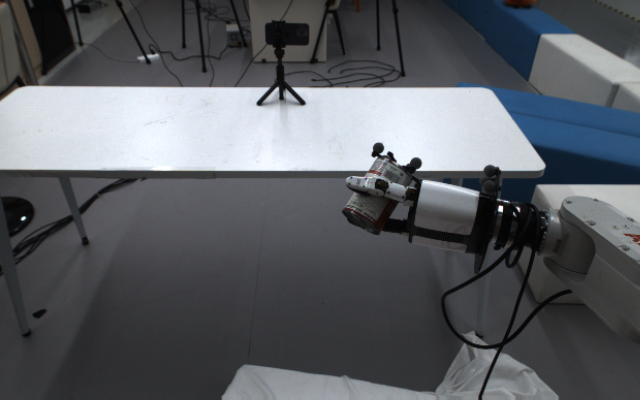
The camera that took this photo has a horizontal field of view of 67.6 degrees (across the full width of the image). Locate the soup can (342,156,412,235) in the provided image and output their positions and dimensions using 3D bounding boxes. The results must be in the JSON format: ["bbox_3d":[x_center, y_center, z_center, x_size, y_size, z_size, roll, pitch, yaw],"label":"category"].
[{"bbox_3d":[0.089,-0.007,0.747,0.067,0.067,0.101,27,78,31],"label":"soup can"}]
